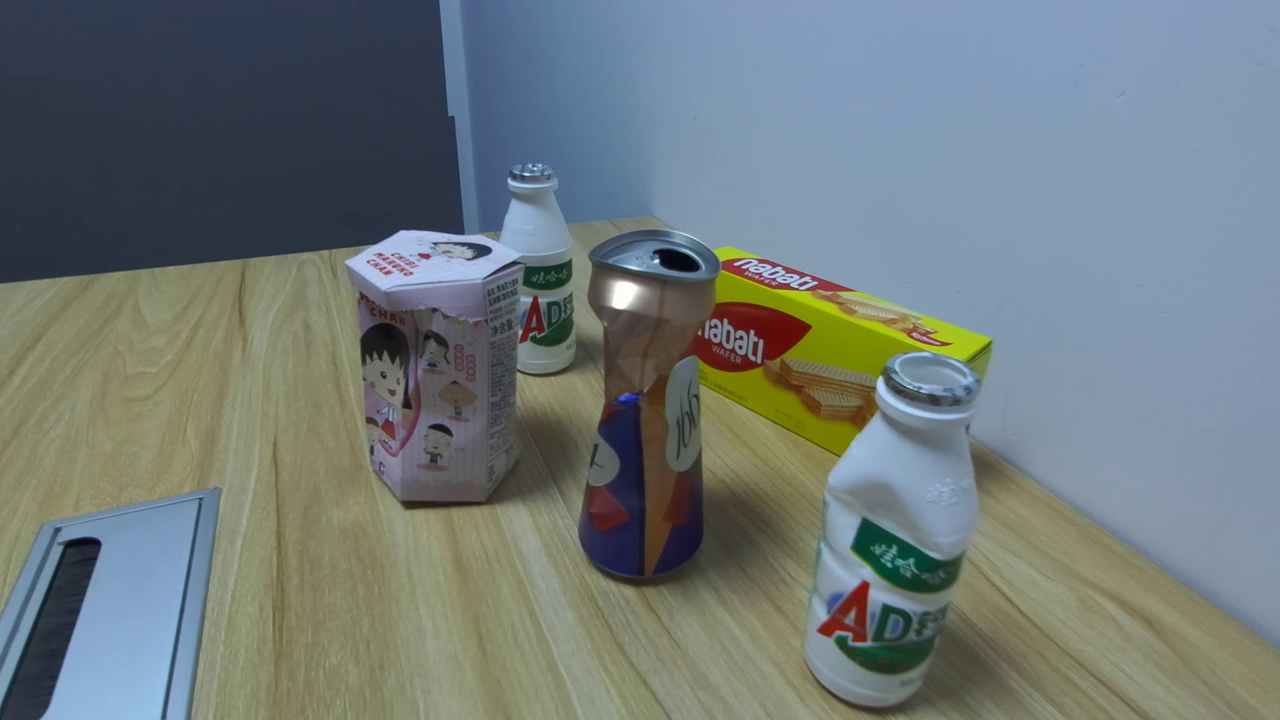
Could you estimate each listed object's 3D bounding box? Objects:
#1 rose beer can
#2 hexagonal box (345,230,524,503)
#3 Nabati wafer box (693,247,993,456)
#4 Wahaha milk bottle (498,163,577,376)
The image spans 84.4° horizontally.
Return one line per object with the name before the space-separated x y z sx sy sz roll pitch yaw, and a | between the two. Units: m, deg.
rose beer can | 0.003 0.027 0.340 0.068 0.162 0.073 -7 26 -22
hexagonal box | -0.110 0.003 0.399 0.090 0.134 0.091 3 28 -4
Nabati wafer box | 0.111 0.000 0.452 0.042 0.093 0.202 -21 36 -37
Wahaha milk bottle | -0.073 -0.060 0.504 0.053 0.147 0.053 1 21 0
